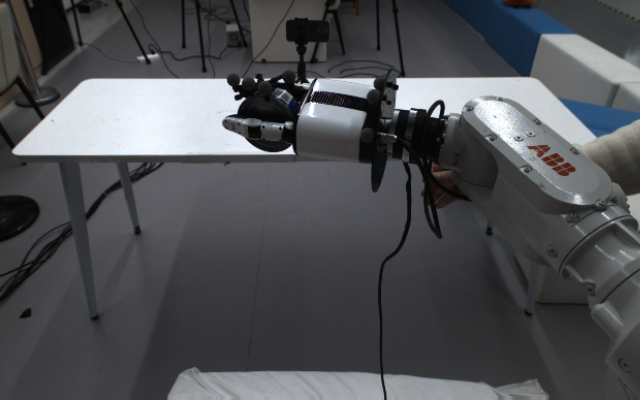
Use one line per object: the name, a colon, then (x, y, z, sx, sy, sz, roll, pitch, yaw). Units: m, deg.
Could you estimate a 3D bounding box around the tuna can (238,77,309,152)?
tuna can: (-0.067, -0.110, 0.658, 0.085, 0.085, 0.034, 11, 38, 13)
